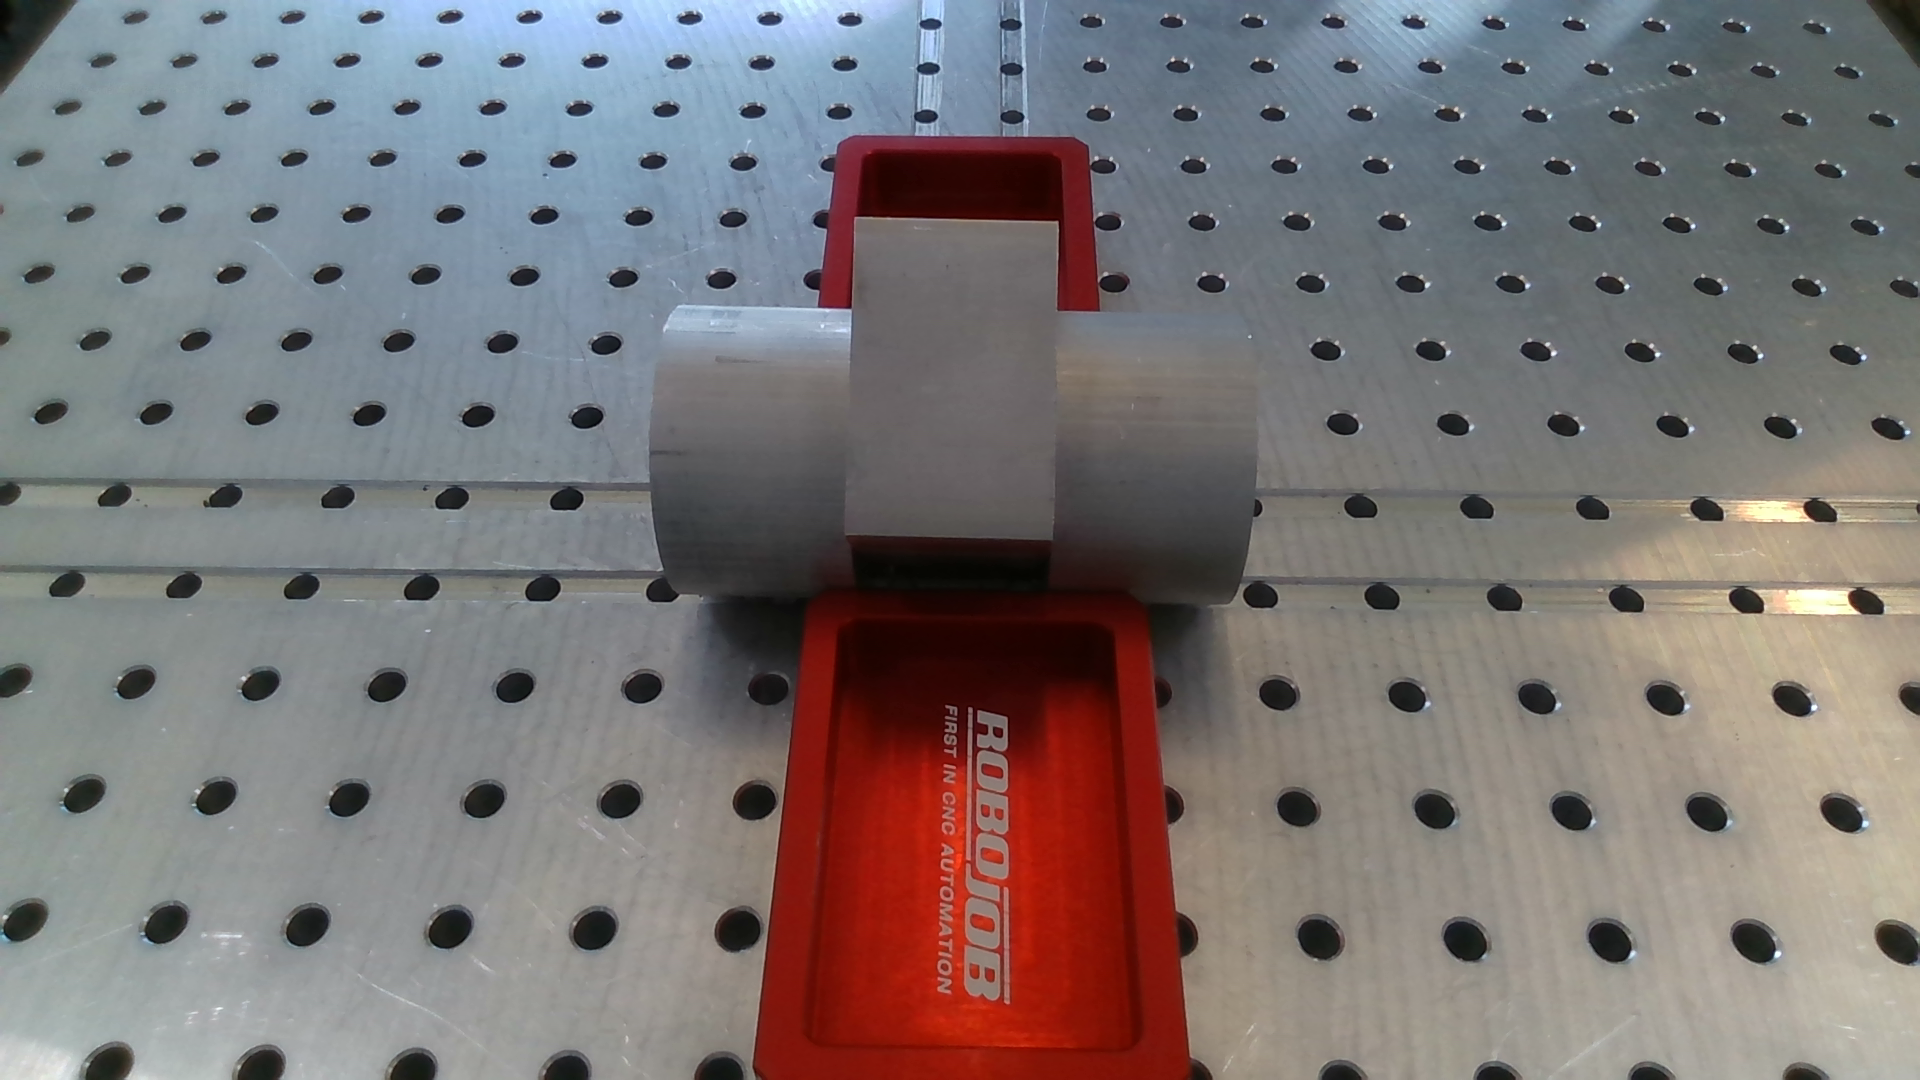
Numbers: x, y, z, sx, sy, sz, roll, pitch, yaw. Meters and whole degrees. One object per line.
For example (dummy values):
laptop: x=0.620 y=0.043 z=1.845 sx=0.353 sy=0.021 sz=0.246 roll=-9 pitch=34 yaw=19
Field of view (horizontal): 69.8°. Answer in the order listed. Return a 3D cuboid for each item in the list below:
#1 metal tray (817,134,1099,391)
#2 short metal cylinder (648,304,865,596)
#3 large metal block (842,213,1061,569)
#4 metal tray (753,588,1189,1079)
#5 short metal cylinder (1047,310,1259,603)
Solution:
metal tray: x=0.000 y=-0.087 z=0.466 sx=0.090 sy=0.030 sz=0.130 roll=1 pitch=50 yaw=1
short metal cylinder: x=-0.052 y=-0.024 z=0.381 sx=0.050 sy=0.080 sz=0.080 roll=1 pitch=50 yaw=1
large metal block: x=-0.001 y=-0.035 z=0.371 sx=0.050 sy=0.080 sz=0.080 roll=2 pitch=84 yaw=1
metal tray: x=0.003 y=0.072 z=0.333 sx=0.090 sy=0.030 sz=0.130 roll=1 pitch=50 yaw=1
short metal cylinder: x=0.049 y=-0.023 z=0.380 sx=0.050 sy=0.080 sz=0.080 roll=1 pitch=50 yaw=1
